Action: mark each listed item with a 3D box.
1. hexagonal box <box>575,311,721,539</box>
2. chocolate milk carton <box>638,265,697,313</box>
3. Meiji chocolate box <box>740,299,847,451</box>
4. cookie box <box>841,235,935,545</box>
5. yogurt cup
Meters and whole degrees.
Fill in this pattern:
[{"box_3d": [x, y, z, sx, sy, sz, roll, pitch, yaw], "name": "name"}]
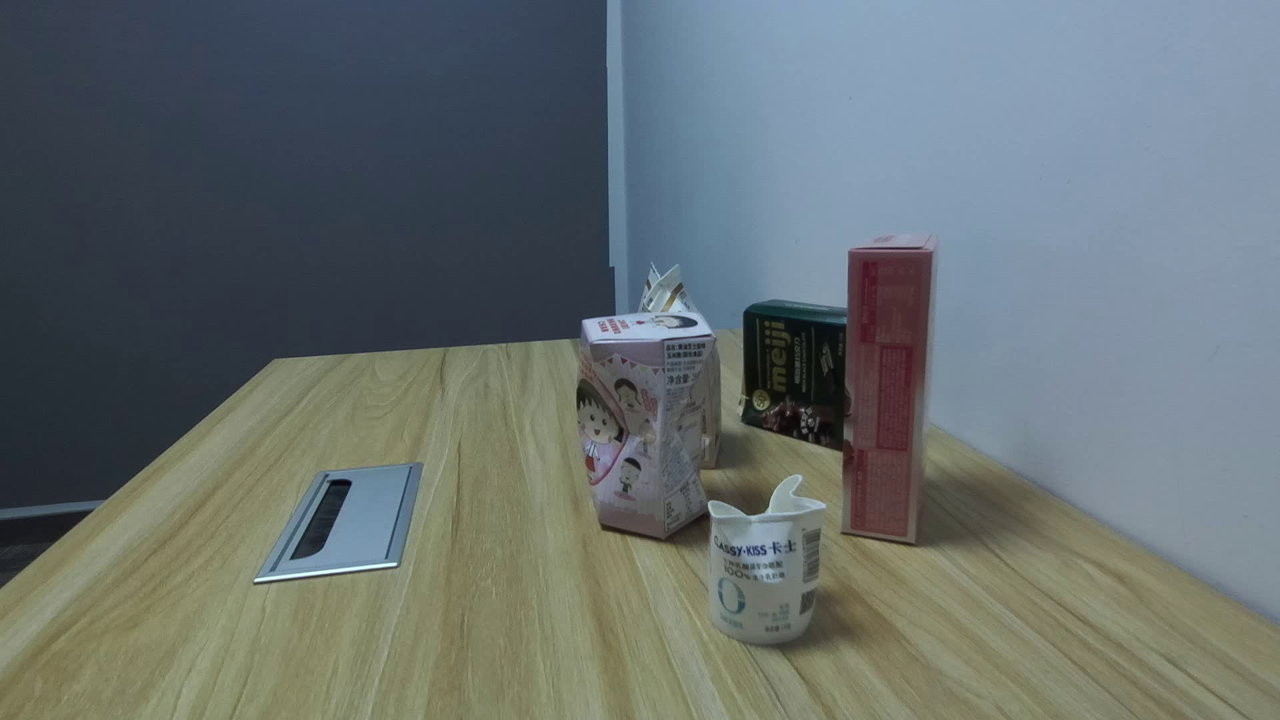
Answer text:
[{"box_3d": [0.005, 0.039, 0.476, 0.088, 0.134, 0.094, 14, 22, 42], "name": "hexagonal box"}, {"box_3d": [0.026, 0.000, 0.576, 0.073, 0.156, 0.076, 3, 25, 12], "name": "chocolate milk carton"}, {"box_3d": [0.147, 0.008, 0.617, 0.122, 0.116, 0.059, 14, 24, 40], "name": "Meiji chocolate box"}, {"box_3d": [0.161, 0.017, 0.460, 0.048, 0.184, 0.096, 3, 15, 21], "name": "cookie box"}, {"box_3d": [0.063, 0.101, 0.361, 0.055, 0.072, 0.055, -2, 19, -2], "name": "yogurt cup"}]
